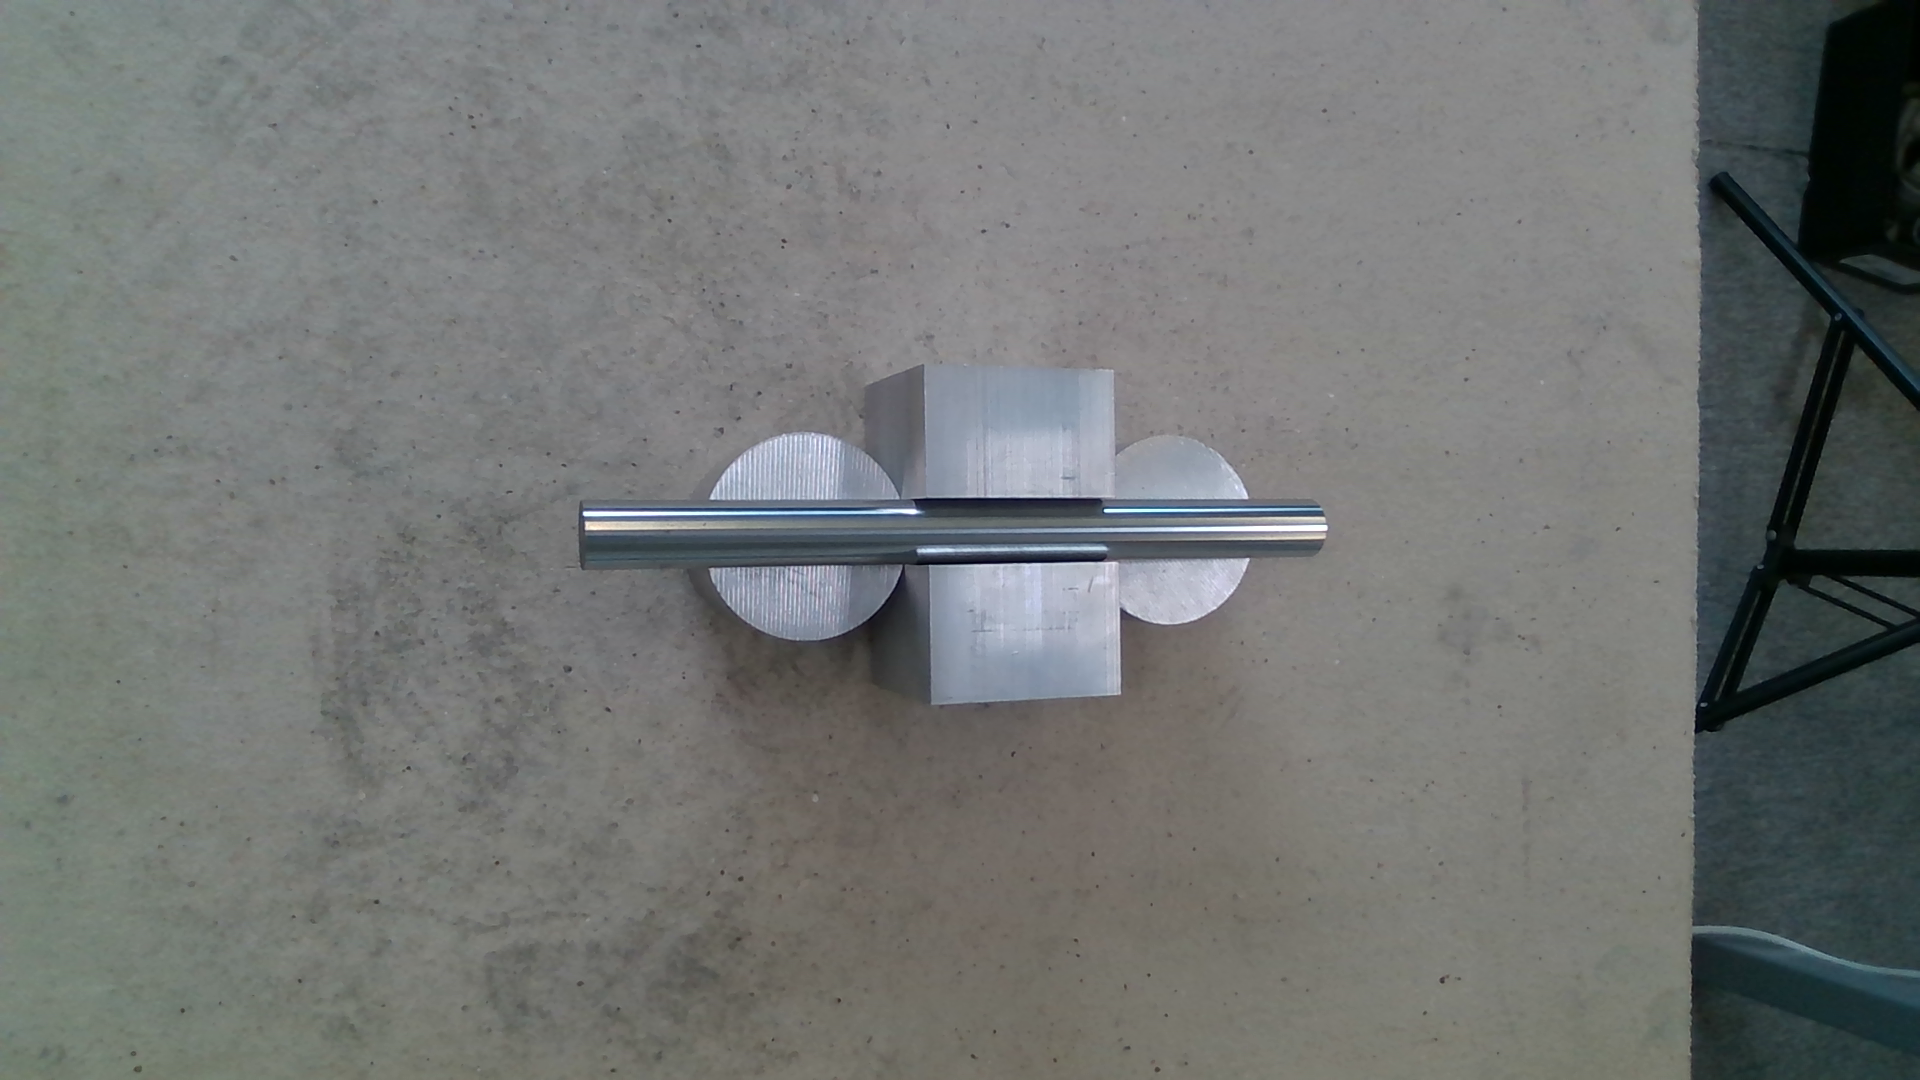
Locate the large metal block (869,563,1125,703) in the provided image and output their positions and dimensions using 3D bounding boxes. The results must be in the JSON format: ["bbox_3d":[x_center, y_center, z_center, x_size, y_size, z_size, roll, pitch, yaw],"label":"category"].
[{"bbox_3d":[0.013,0.035,0.562,0.080,0.080,0.050,-1,90,-21],"label":"large metal block"}]

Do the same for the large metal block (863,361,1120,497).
[{"bbox_3d":[0.011,-0.042,0.561,0.080,0.080,0.050,-1,90,-21],"label":"large metal block"}]

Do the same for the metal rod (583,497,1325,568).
[{"bbox_3d":[0.008,-0.004,0.536,0.300,0.025,0.025,-1,90,-21],"label":"metal rod"}]

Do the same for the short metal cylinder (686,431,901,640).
[{"bbox_3d":[-0.067,-0.002,0.549,0.080,0.050,0.080,0,90,-21],"label":"short metal cylinder"}]

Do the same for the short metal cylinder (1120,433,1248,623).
[{"bbox_3d":[0.080,-0.005,0.603,0.080,0.050,0.080,0,90,-21],"label":"short metal cylinder"}]
